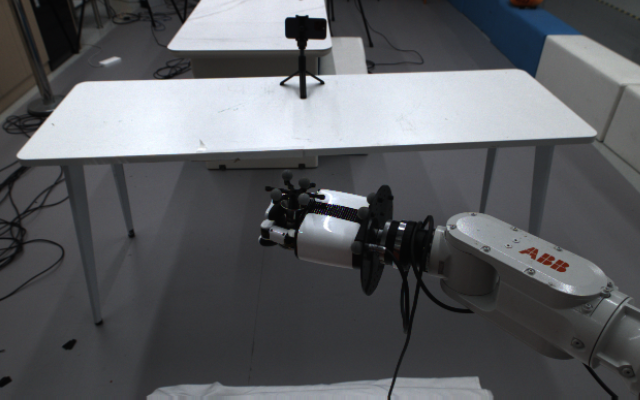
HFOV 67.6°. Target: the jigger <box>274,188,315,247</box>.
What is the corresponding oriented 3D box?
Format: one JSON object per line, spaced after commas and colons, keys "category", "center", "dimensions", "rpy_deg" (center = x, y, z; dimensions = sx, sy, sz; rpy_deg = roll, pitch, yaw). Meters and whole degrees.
{"category": "jigger", "center": [-0.040, 0.035, 0.728], "dimensions": [0.043, 0.071, 0.043], "rpy_deg": [6, 26, -3]}
